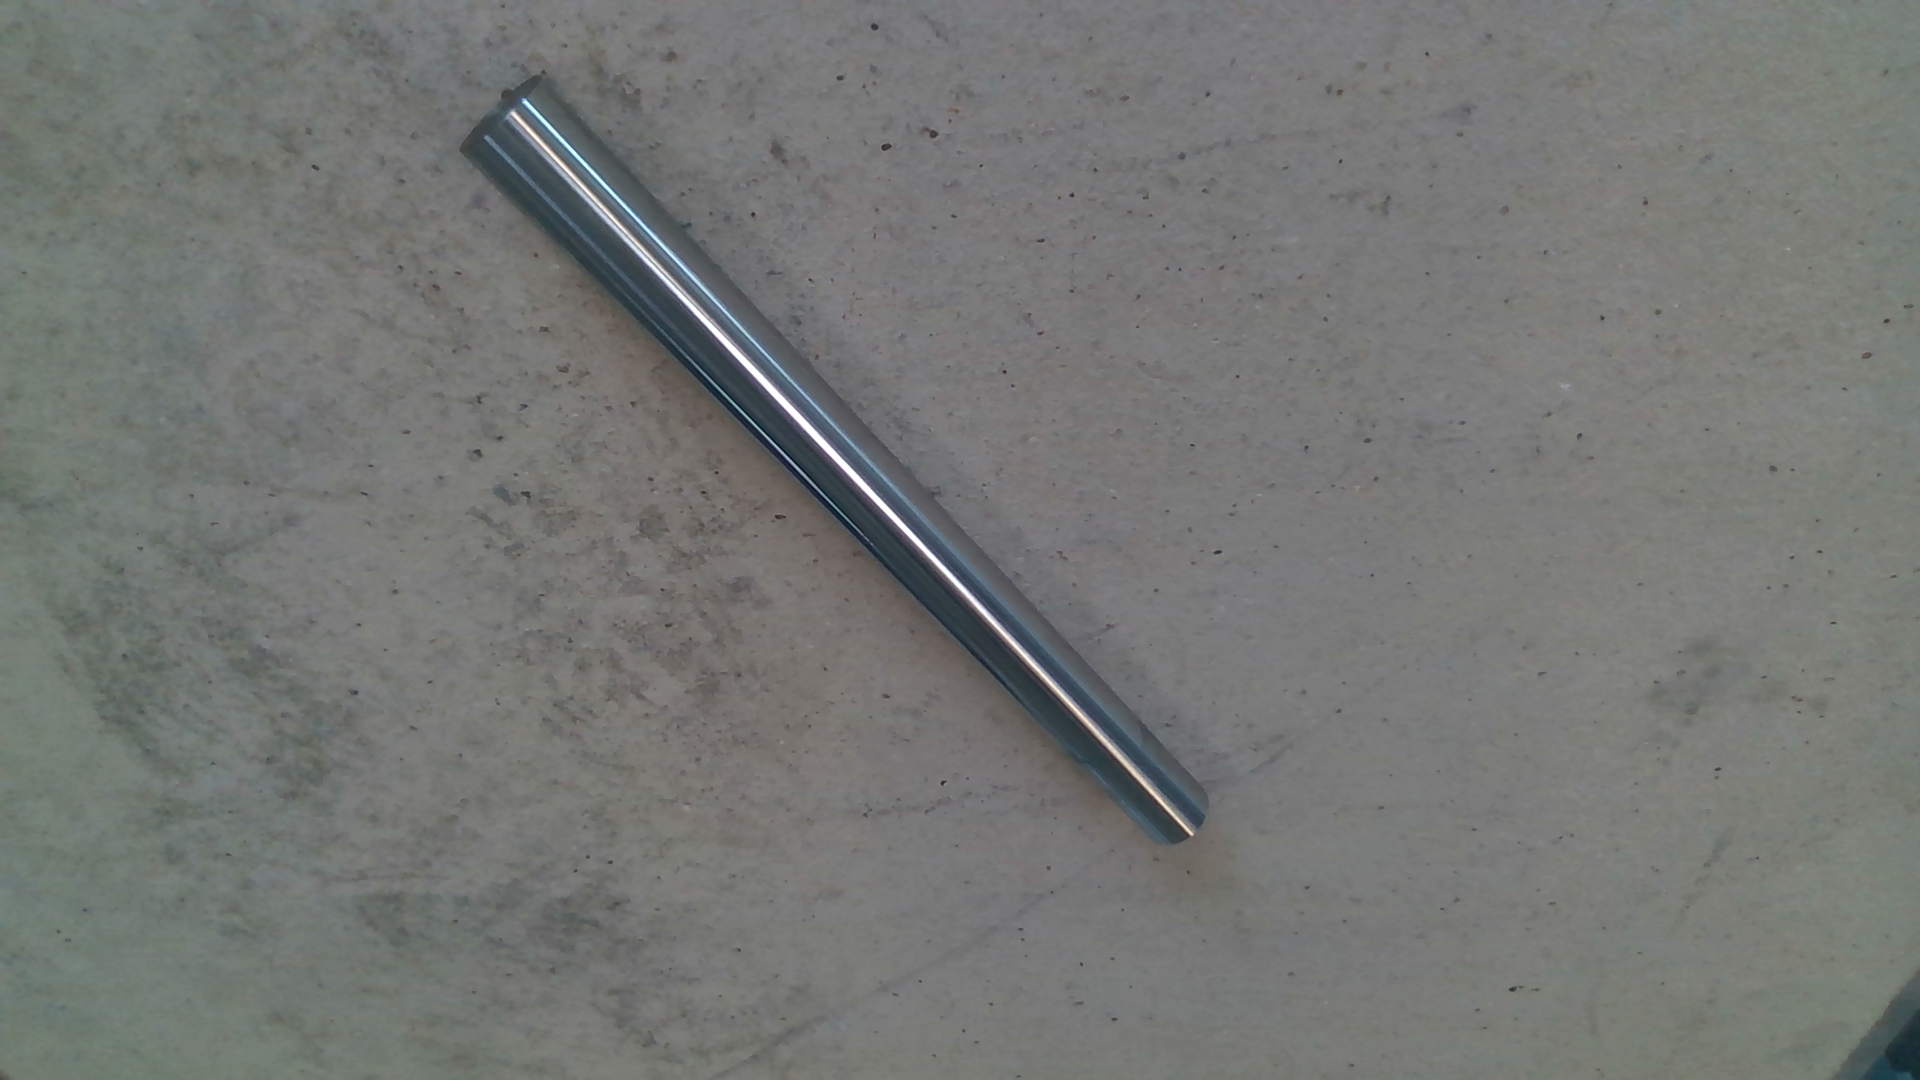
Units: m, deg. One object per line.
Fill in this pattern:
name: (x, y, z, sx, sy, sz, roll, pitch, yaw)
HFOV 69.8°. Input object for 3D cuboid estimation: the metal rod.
metal rod: (-0.015, -0.003, 0.386, 0.025, 0.025, 0.301, -29, 124, 22)
